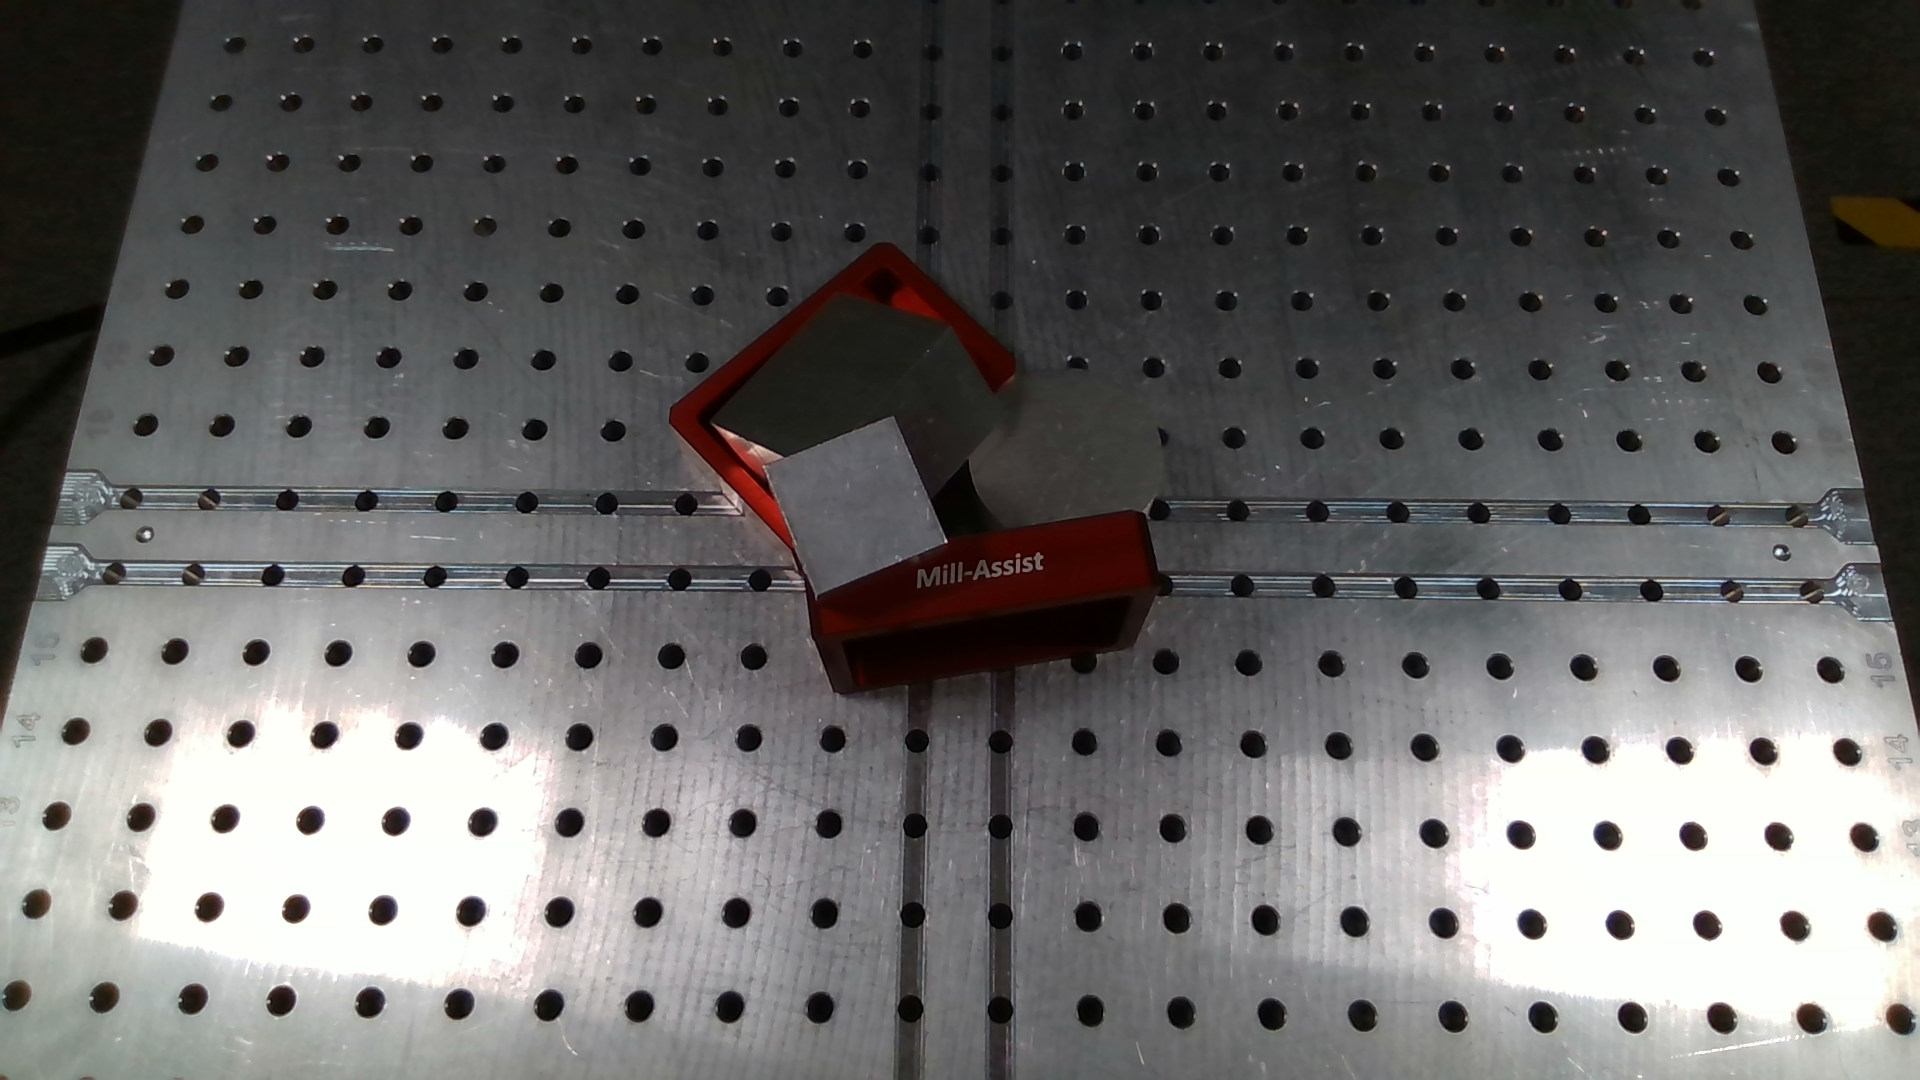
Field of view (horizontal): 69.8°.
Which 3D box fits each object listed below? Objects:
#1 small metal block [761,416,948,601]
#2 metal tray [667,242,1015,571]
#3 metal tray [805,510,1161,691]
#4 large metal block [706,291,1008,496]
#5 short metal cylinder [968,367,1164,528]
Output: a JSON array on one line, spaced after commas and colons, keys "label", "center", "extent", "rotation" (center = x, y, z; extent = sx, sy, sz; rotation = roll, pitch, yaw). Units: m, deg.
[{"label": "small metal block", "center": [-0.038, -0.010, 0.494], "extent": [0.050, 0.025, 0.050], "rotation": [-22, 83, -7]}, {"label": "metal tray", "center": [-0.051, -0.060, 0.608], "extent": [0.130, 0.030, 0.090], "rotation": [-41, 75, -13]}, {"label": "metal tray", "center": [0.008, 0.027, 0.546], "extent": [0.130, 0.090, 0.030], "rotation": [-9, 70, -3]}, {"label": "large metal block", "center": [-0.042, -0.050, 0.562], "extent": [0.080, 0.050, 0.080], "rotation": [-49, 42, -15]}, {"label": "short metal cylinder", "center": [0.043, -0.027, 0.587], "extent": [0.080, 0.050, 0.080], "rotation": [0, 70, 0]}]
